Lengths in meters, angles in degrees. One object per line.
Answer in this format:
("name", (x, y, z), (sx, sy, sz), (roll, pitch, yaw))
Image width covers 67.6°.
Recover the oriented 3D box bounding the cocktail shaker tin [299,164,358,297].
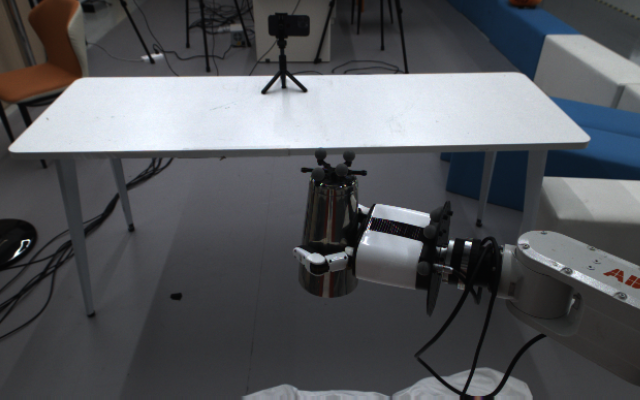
("cocktail shaker tin", (0.018, 0.043, 0.696), (0.093, 0.170, 0.093), (2, 28, -1))
